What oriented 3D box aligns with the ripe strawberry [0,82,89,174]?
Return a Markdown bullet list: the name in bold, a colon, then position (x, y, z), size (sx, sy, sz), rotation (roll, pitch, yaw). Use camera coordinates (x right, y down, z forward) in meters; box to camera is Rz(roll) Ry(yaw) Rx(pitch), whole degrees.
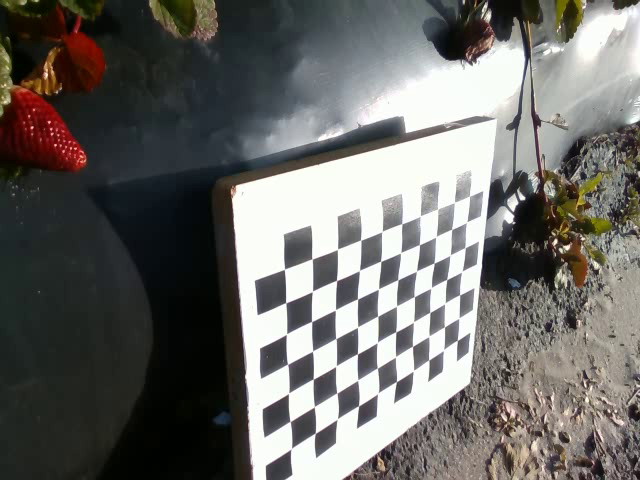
- **ripe strawberry**: position (-0.130, -0.045, 0.281), size (0.056, 0.041, 0.040), rotation (29, -6, -4)
